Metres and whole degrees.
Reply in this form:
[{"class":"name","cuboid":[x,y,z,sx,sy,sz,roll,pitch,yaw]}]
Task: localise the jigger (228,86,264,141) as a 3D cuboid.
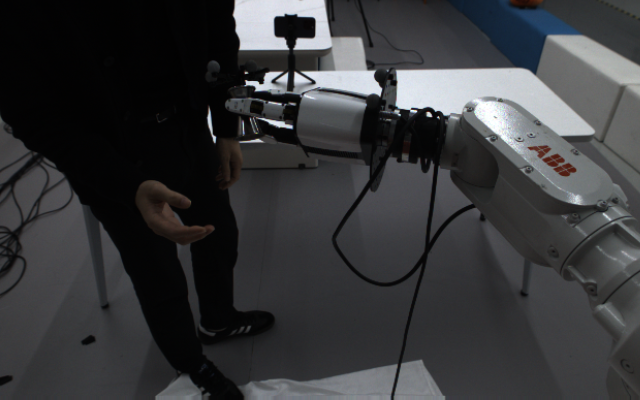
[{"class":"jigger","cuboid":[-0.102,-0.118,0.666,0.043,0.071,0.043,-10,-1,0]}]
